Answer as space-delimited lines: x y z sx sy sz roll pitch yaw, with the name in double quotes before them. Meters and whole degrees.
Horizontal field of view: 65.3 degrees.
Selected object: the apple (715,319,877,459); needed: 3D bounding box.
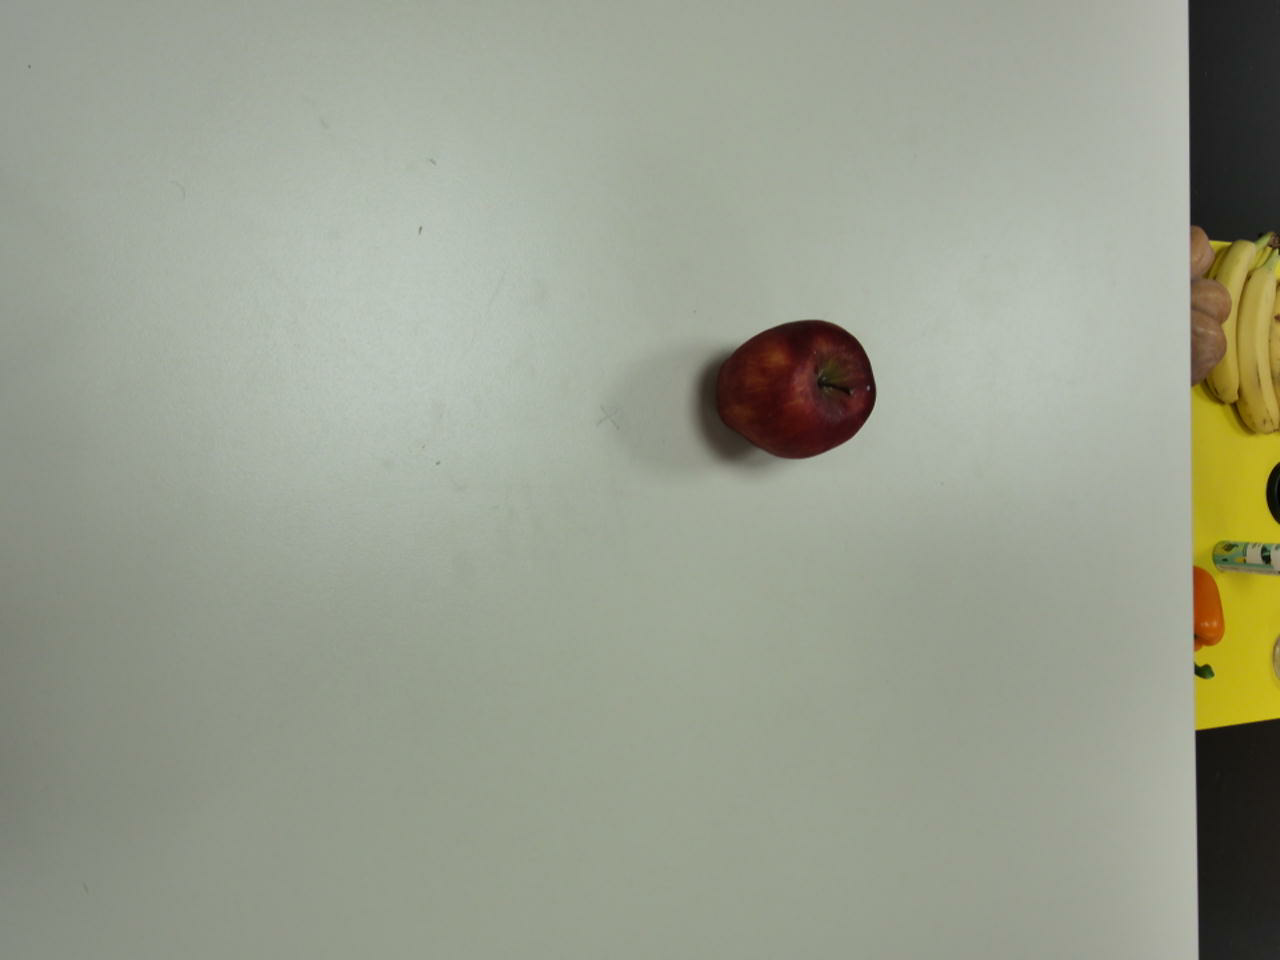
"apple" 0.089 -0.050 0.555 0.083 0.090 0.083 0 90 -22
